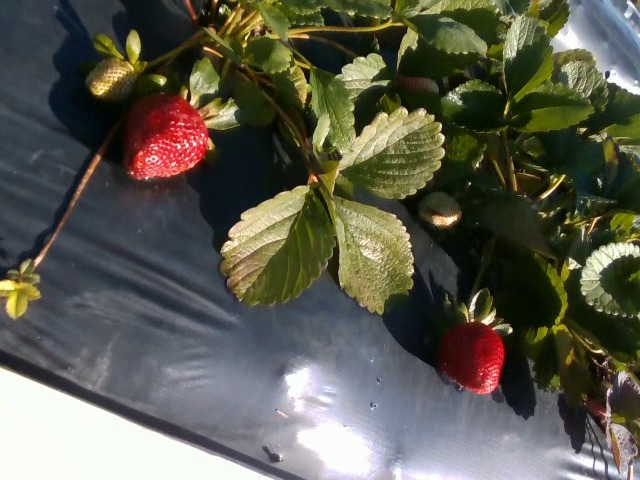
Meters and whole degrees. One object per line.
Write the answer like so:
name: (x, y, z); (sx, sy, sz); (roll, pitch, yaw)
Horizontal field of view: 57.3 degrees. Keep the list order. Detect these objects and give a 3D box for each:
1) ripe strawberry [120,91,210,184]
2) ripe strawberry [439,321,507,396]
ripe strawberry: (-0.070, -0.042, 0.250); (0.043, 0.042, 0.053); (-34, 26, 22)
ripe strawberry: (0.086, 0.070, 0.326); (0.043, 0.043, 0.050); (-18, 14, 13)
